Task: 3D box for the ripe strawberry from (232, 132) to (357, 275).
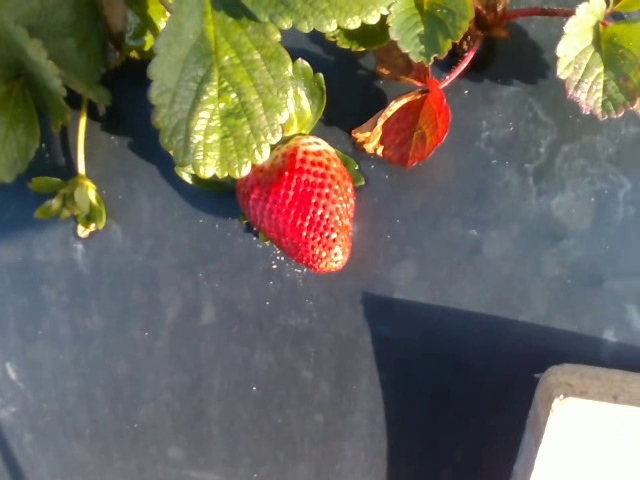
[{"bbox_3d":[-0.006,-0.009,0.202,0.040,0.056,0.040,-42,-34,26],"label":"ripe strawberry"}]
